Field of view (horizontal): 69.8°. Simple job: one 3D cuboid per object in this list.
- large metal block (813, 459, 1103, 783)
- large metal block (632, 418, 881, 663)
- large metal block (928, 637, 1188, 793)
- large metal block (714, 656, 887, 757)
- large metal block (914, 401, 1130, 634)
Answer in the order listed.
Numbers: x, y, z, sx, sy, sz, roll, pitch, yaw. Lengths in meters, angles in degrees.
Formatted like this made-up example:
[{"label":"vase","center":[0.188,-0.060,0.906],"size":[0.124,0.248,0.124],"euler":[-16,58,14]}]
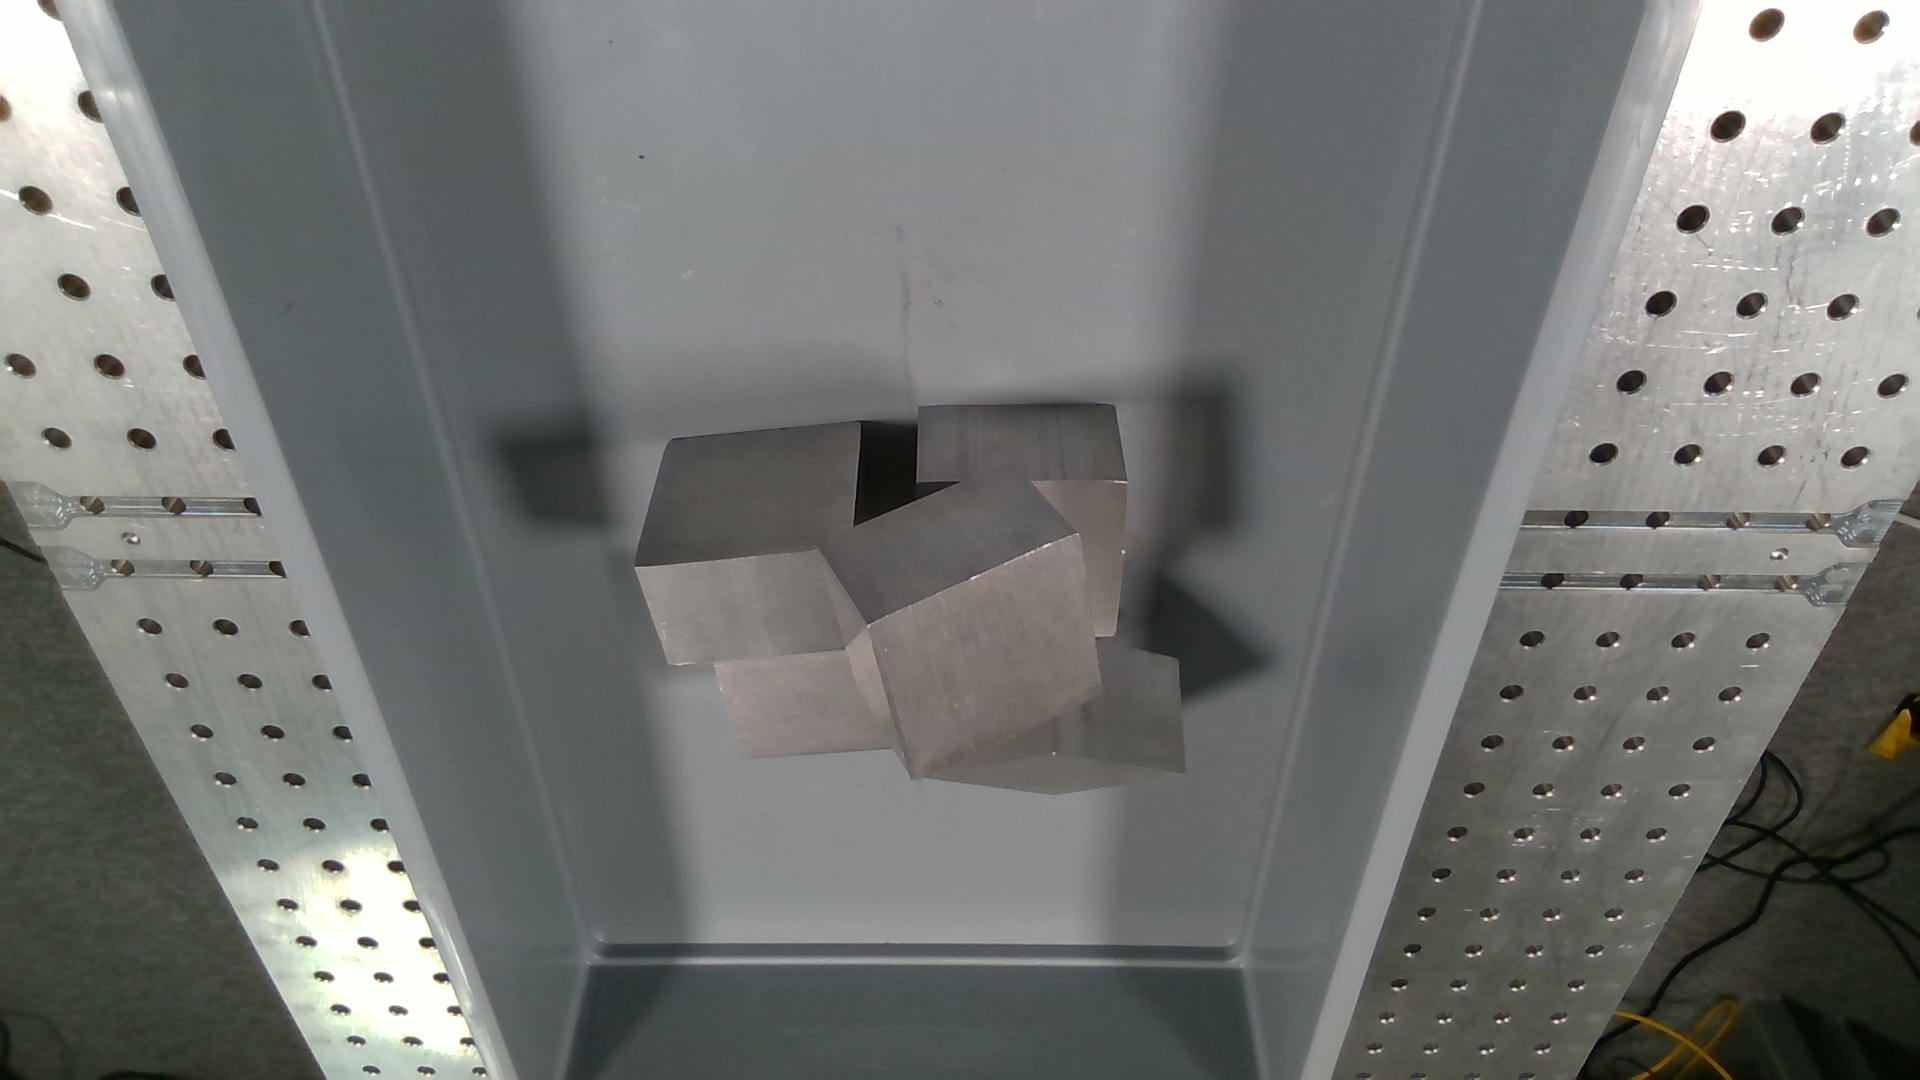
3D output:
[{"label":"large metal block","center":[0.001,0.029,0.501],"size":[0.080,0.050,0.080],"euler":[-23,130,-13]},{"label":"large metal block","center":[-0.076,-0.001,0.541],"size":[0.080,0.080,0.050],"euler":[-5,130,4]},{"label":"large metal block","center":[0.039,0.076,0.592],"size":[0.080,0.050,0.080],"euler":[15,156,-39]},{"label":"large metal block","center":[-0.060,0.046,0.597],"size":[0.080,0.050,0.080],"euler":[-4,130,4]},{"label":"large metal block","center":[0.024,-0.008,0.555],"size":[0.080,0.050,0.080],"euler":[-1,130,1]}]
